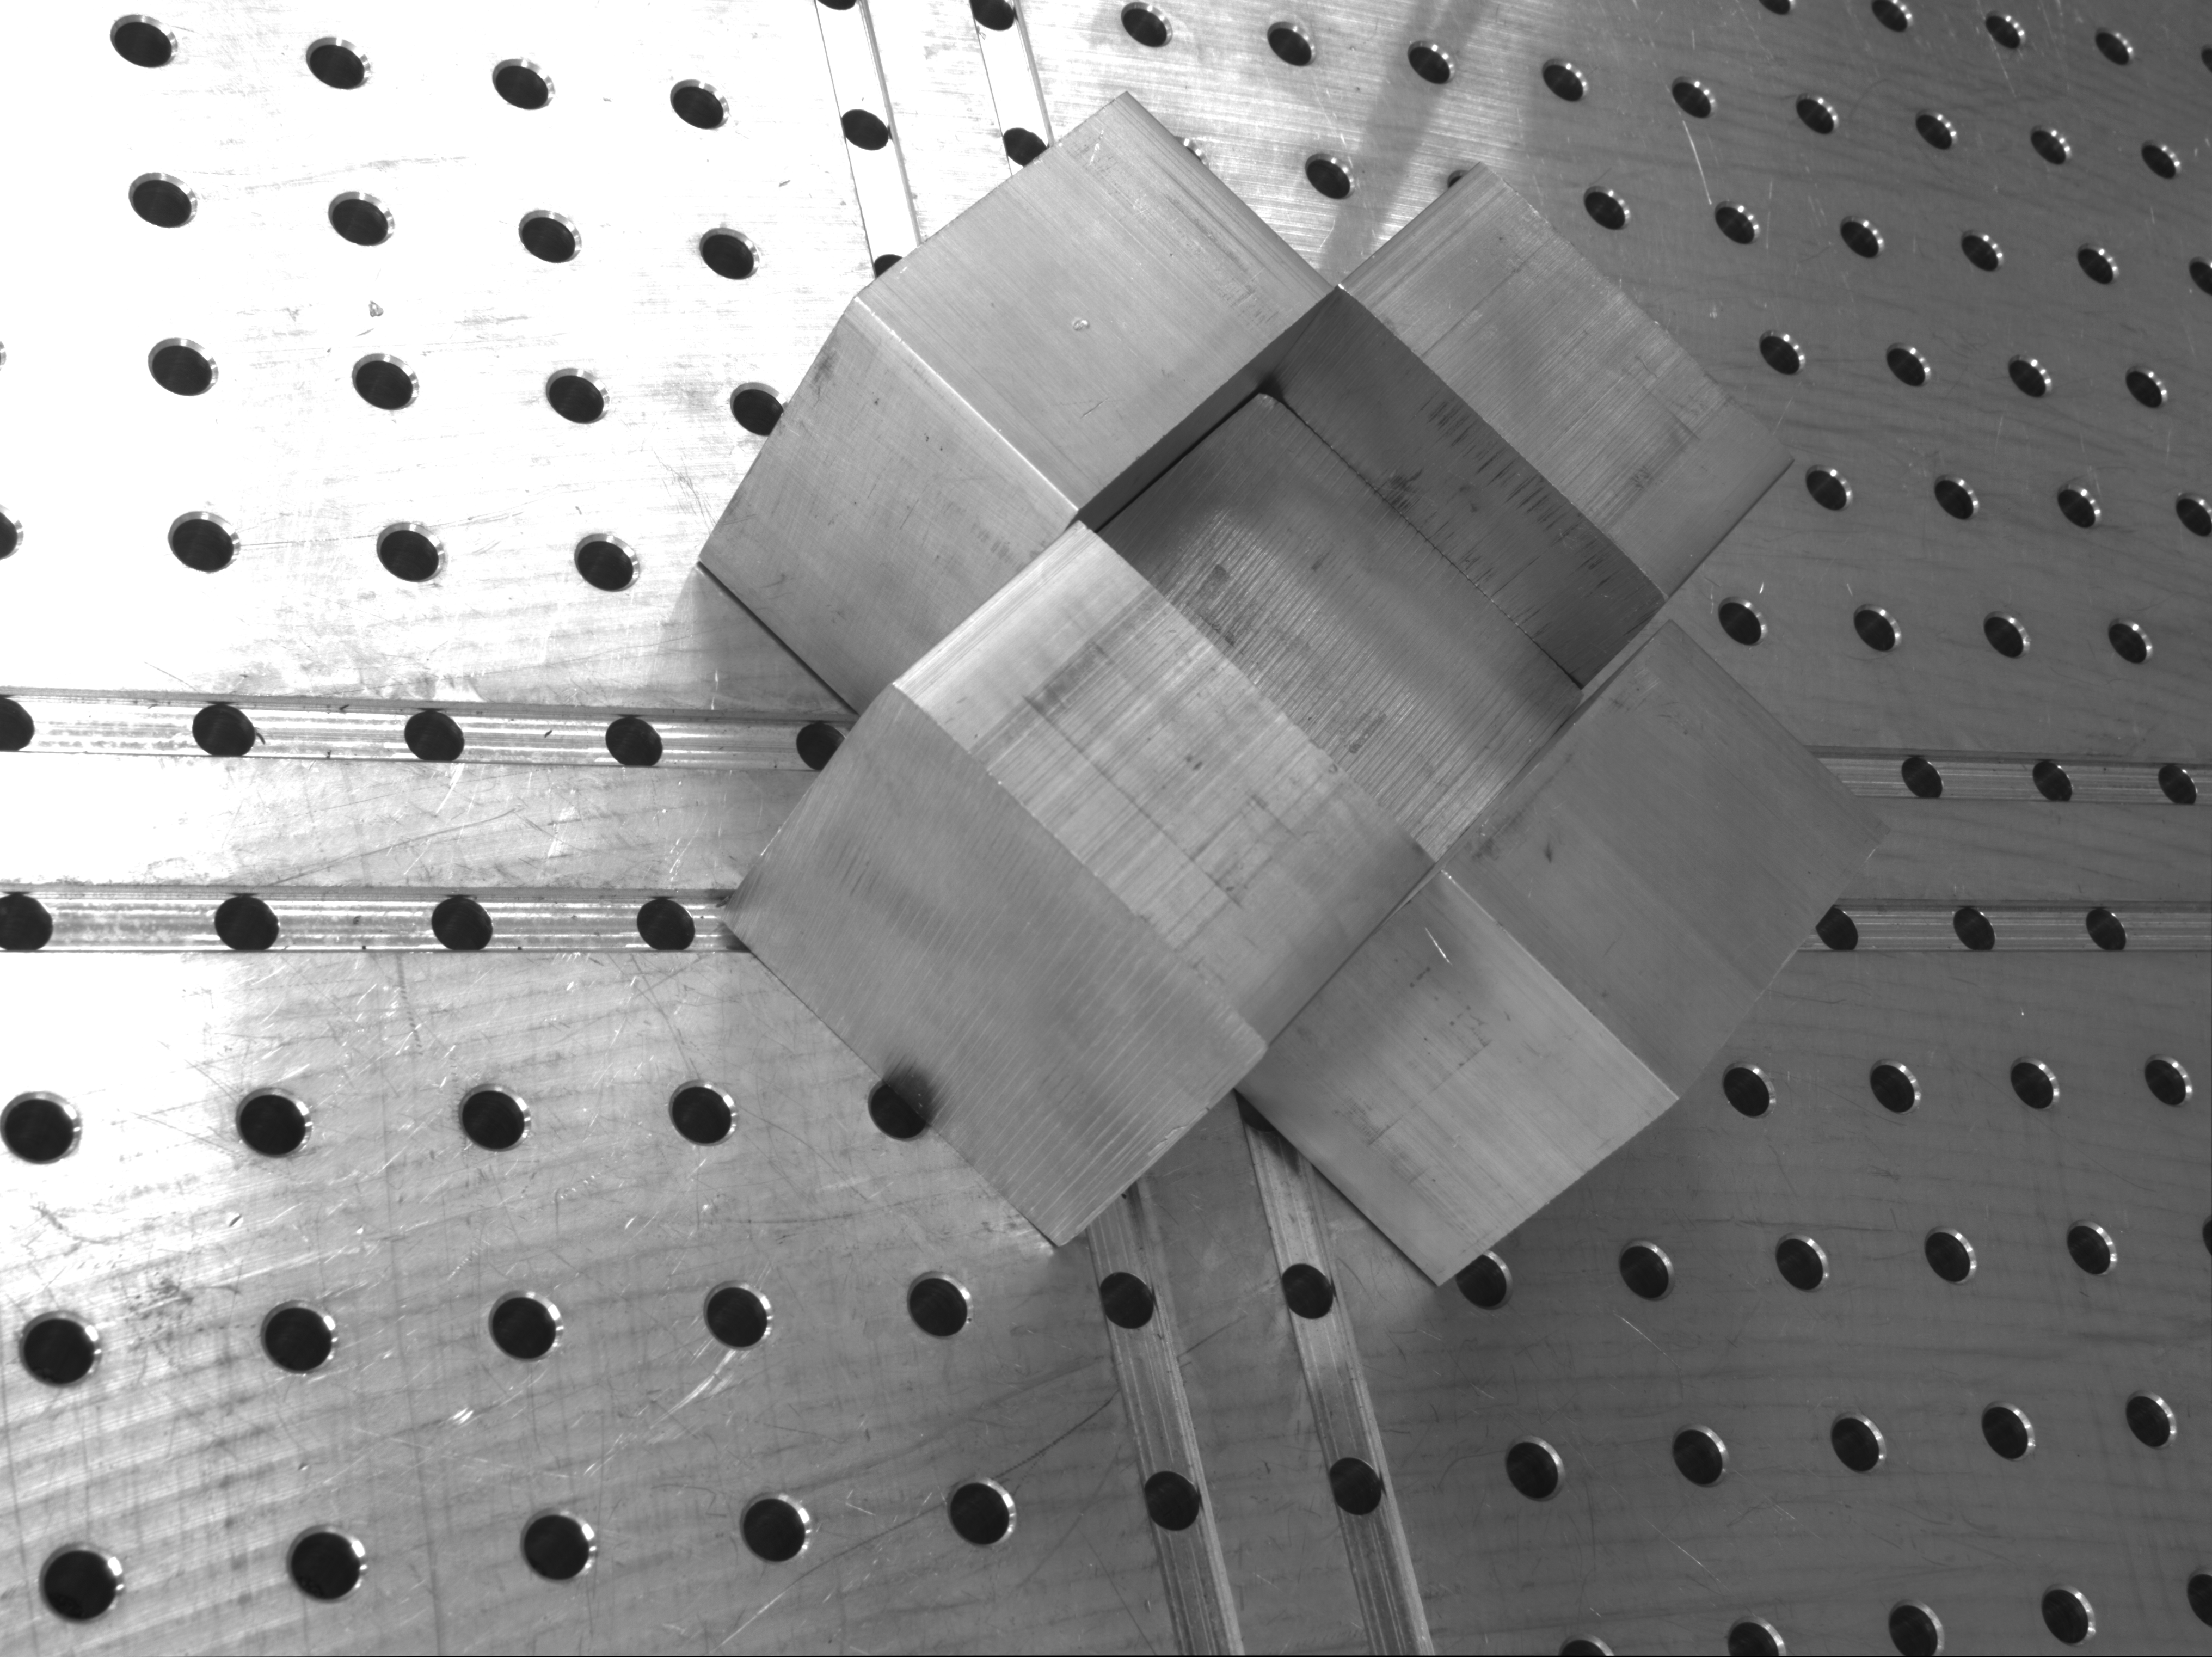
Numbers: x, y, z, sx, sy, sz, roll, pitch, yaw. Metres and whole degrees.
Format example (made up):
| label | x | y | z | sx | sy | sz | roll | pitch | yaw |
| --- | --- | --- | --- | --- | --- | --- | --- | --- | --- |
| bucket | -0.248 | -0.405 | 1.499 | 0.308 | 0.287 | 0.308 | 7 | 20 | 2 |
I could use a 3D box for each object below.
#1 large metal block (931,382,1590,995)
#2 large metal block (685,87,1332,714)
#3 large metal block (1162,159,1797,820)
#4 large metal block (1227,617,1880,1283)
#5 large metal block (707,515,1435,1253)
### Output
| label | x | y | z | sx | sy | sz | roll | pitch | yaw |
| --- | --- | --- | --- | --- | --- | --- | --- | --- | --- |
| large metal block | 0.024 | -0.018 | 0.649 | 0.080 | 0.050 | 0.080 | 43 | 53 | 3 |
| large metal block | -0.018 | -0.070 | 0.641 | 0.050 | 0.080 | 0.080 | 44 | 51 | 2 |
| large metal block | 0.066 | -0.061 | 0.680 | 0.080 | 0.080 | 0.050 | 44 | 51 | 2 |
| large metal block | 0.076 | 0.021 | 0.636 | 0.050 | 0.080 | 0.080 | 45 | 51 | 3 |
| large metal block | -0.007 | 0.010 | 0.596 | 0.080 | 0.080 | 0.050 | 44 | 51 | 2 |
